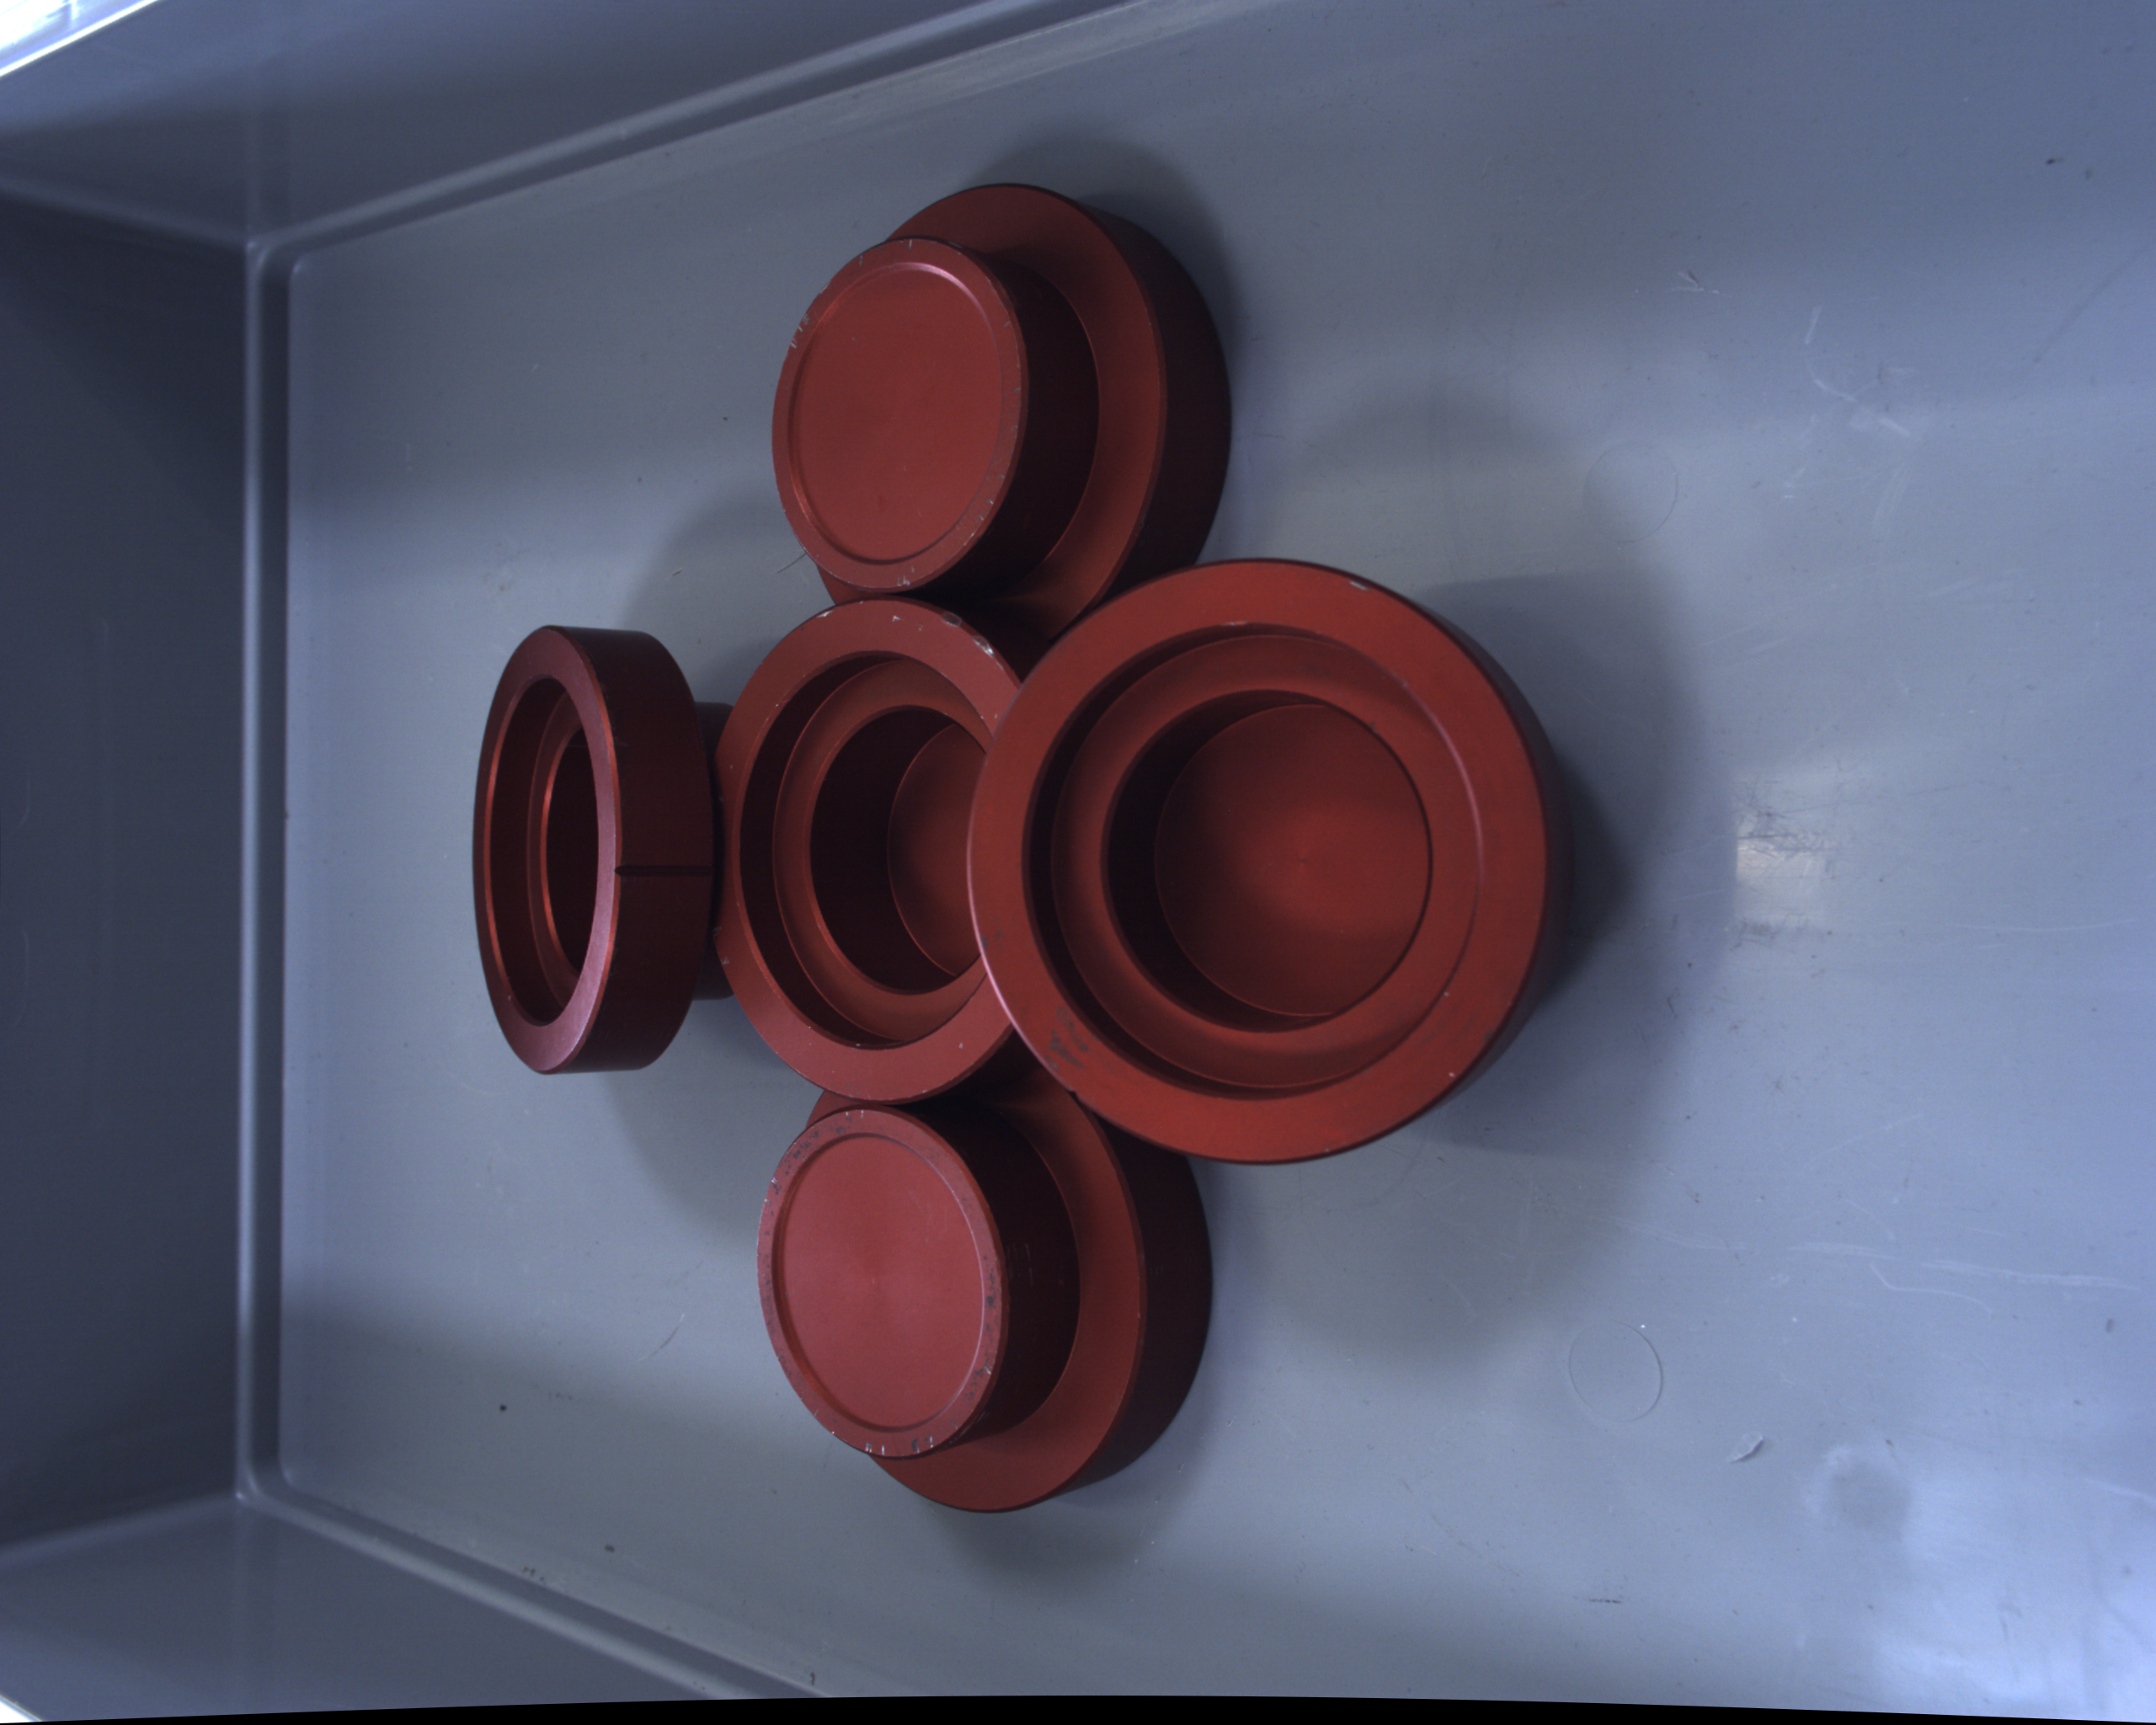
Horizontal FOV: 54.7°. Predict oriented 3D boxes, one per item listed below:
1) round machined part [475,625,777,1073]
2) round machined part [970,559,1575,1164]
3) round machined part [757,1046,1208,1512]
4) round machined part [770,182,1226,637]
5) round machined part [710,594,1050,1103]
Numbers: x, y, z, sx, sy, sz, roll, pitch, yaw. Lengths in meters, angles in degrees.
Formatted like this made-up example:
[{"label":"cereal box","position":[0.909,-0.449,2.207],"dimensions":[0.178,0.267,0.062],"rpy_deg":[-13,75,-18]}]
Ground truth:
[{"label":"round machined part","position":[-0.099,-0.003,0.465],"dimensions":[0.098,0.042,0.097],"rpy_deg":[0,89,57]},{"label":"round machined part","position":[0.035,0.000,0.354],"dimensions":[0.098,0.042,0.097],"rpy_deg":[0,90,23]},{"label":"round machined part","position":[-0.026,0.080,0.415],"dimensions":[0.098,0.042,0.097],"rpy_deg":[0,90,40]},{"label":"round machined part","position":[-0.023,-0.085,0.412],"dimensions":[0.098,0.042,0.097],"rpy_deg":[0,90,40]},{"label":"round machined part","position":[-0.027,-0.003,0.415],"dimensions":[0.098,0.042,0.097],"rpy_deg":[0,90,40]}]
